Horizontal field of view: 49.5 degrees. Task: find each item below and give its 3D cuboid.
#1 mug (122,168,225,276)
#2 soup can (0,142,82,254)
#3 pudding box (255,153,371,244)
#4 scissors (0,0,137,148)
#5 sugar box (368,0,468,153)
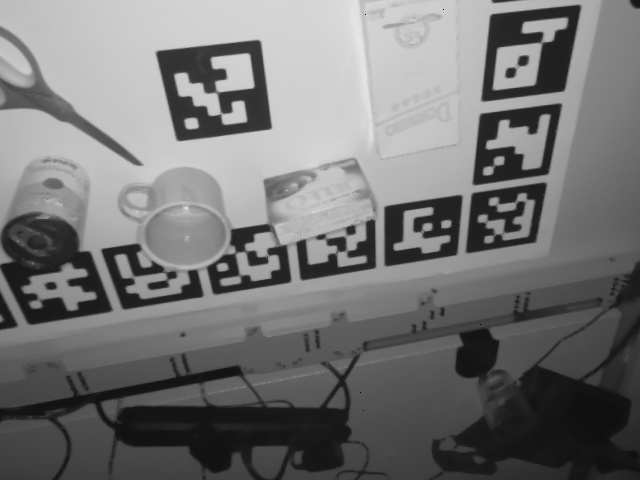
[{"bbox_3d":[-0.158,-0.029,0.724,0.092,0.081,0.118,-38,126,13],"label":"mug"},{"bbox_3d":[-0.274,-0.044,0.683,0.068,0.102,0.067,-7,128,-8],"label":"soup can"},{"bbox_3d":[-0.009,-0.045,0.736,0.114,0.090,0.038,-15,121,-1],"label":"pudding box"},{"bbox_3d":[-0.261,-0.143,0.657,0.204,0.016,0.087,36,102,-30],"label":"scissors"},{"bbox_3d":[0.099,-0.180,0.700,0.093,0.045,0.175,-12,126,-6],"label":"sugar box"}]
